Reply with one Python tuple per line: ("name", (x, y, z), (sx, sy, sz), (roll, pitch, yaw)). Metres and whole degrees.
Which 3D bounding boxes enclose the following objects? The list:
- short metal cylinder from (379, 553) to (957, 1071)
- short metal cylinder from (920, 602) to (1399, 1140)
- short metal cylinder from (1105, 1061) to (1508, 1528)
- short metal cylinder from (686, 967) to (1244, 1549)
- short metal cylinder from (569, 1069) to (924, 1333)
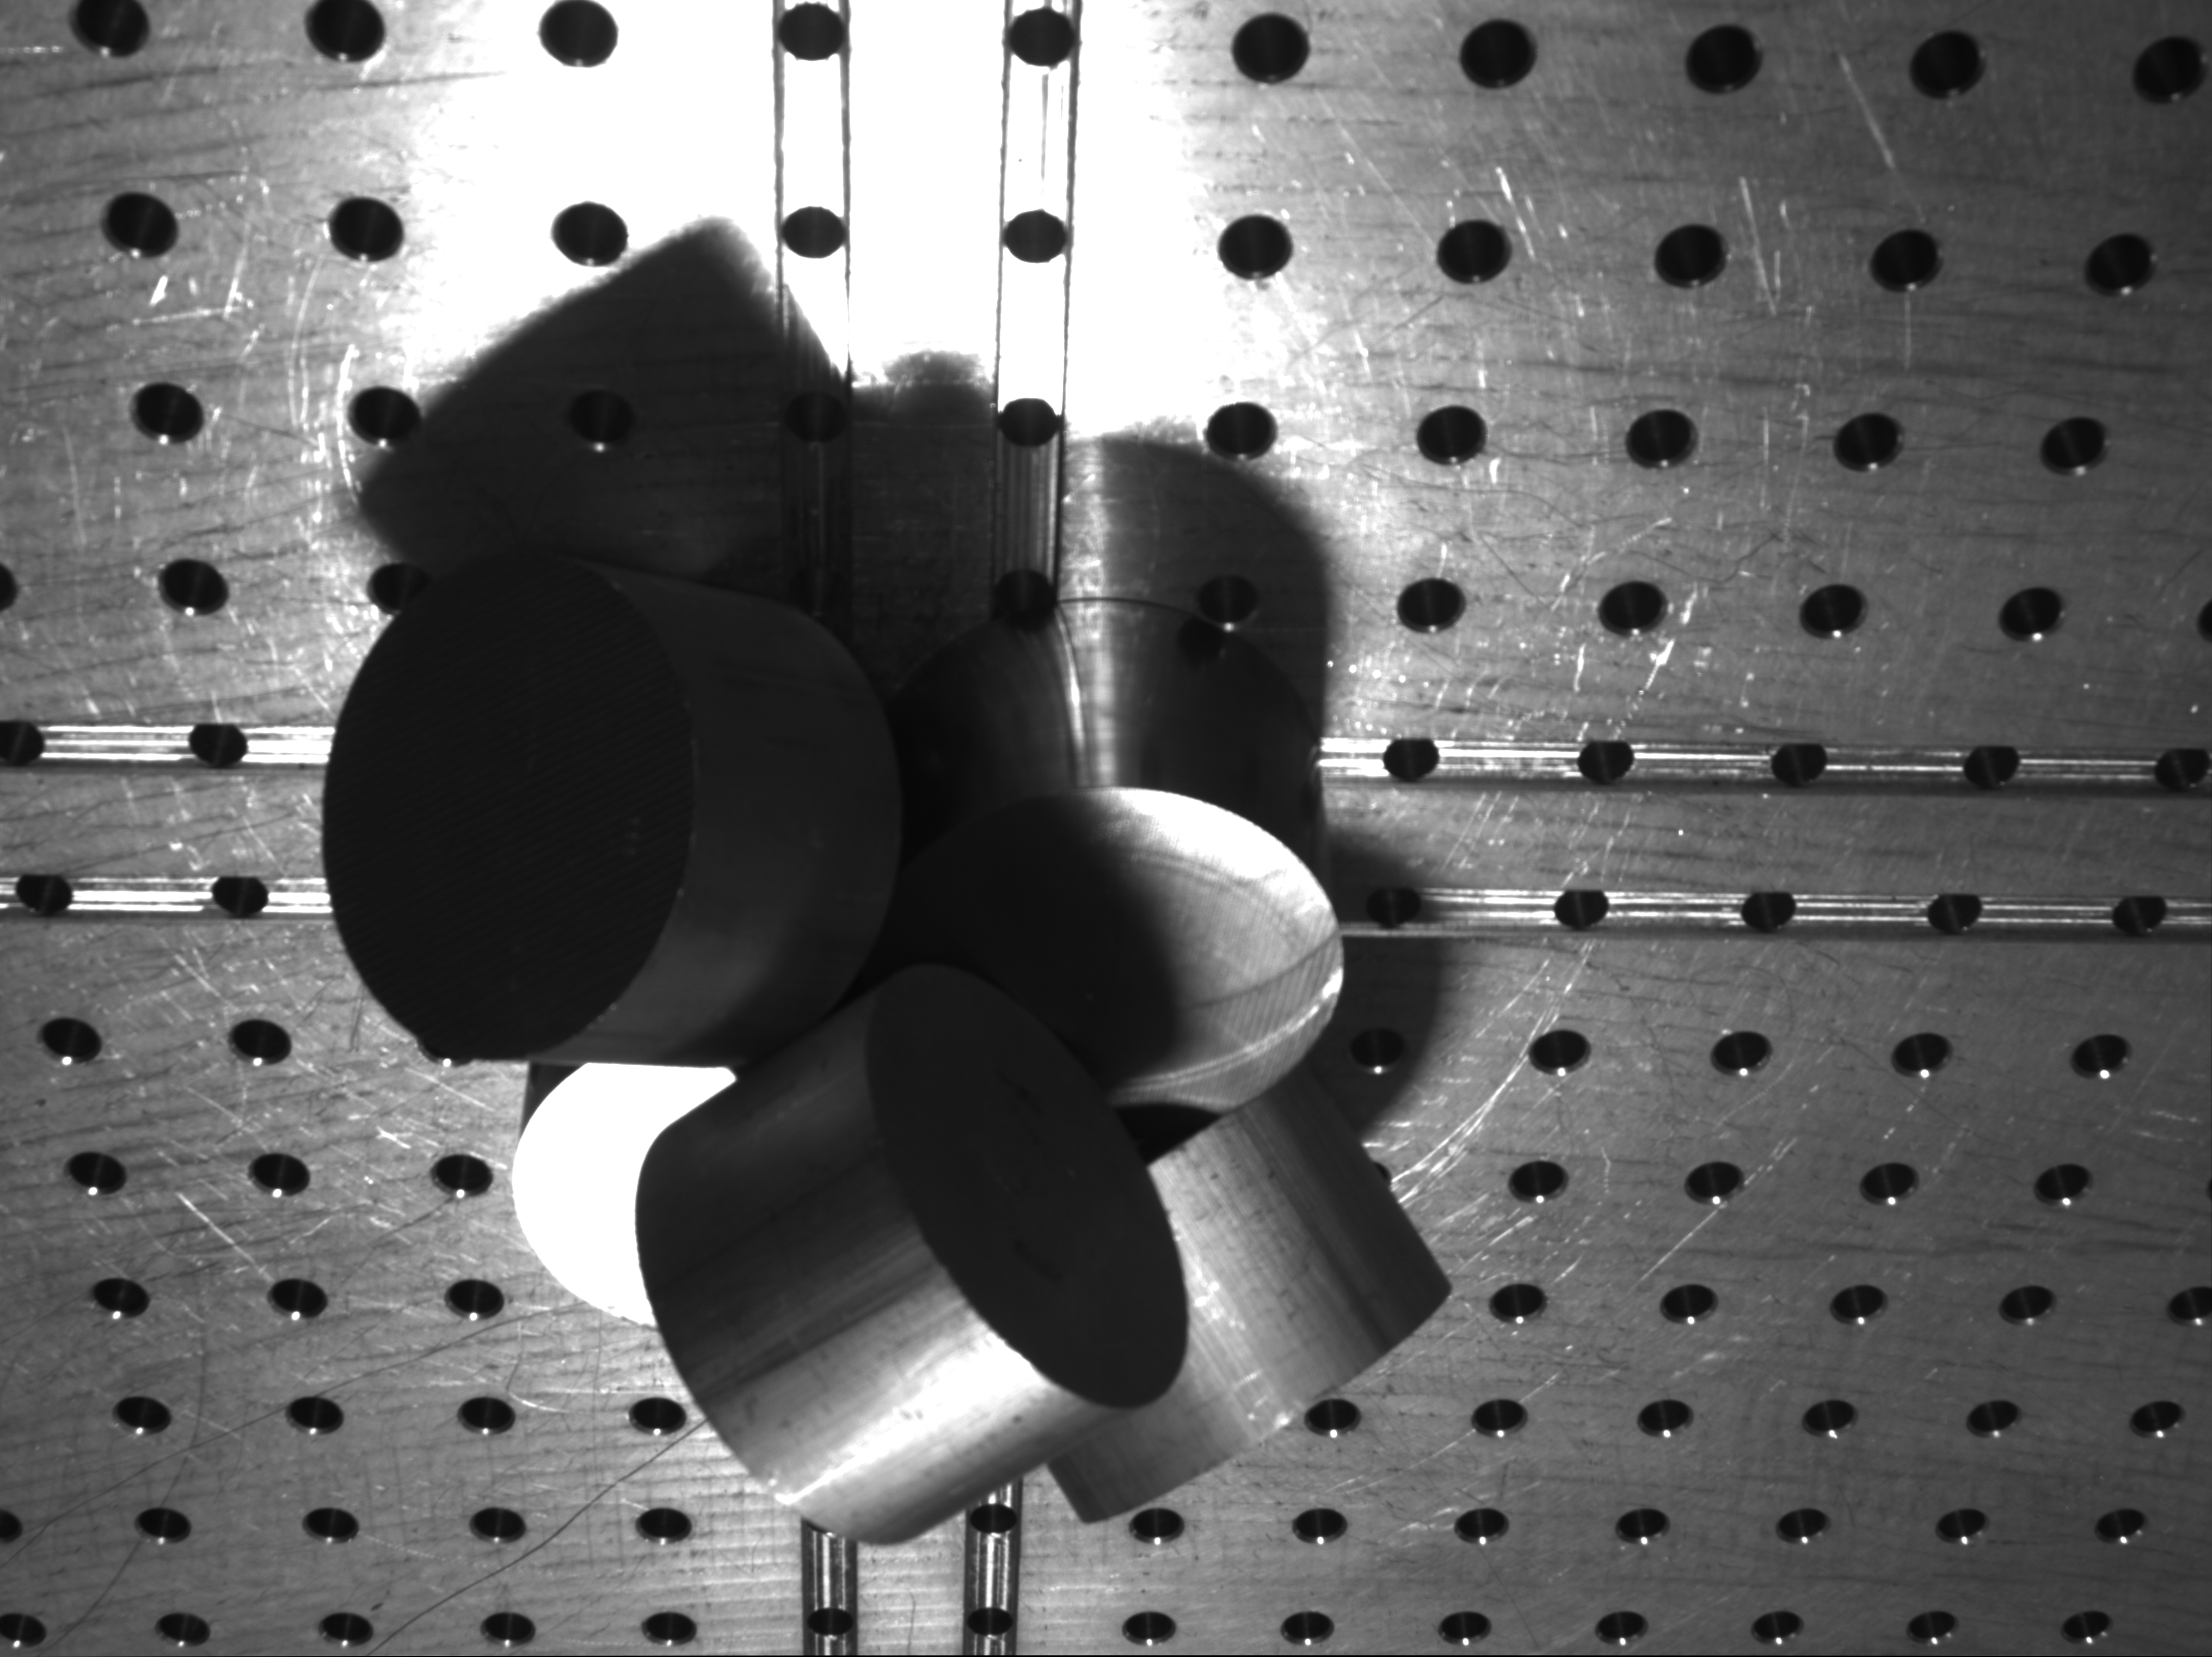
("short metal cylinder", (-0.071, -0.001, 0.593), (0.080, 0.080, 0.050), (-38, 155, 26))
("short metal cylinder", (0.008, 0.008, 0.631), (0.080, 0.050, 0.080), (-1, 130, -1))
("short metal cylinder", (0.026, 0.084, 0.667), (0.080, 0.080, 0.050), (-33, 88, 23))
("short metal cylinder", (-0.022, 0.070, 0.596), (0.050, 0.080, 0.080), (-33, 123, 24))
("short metal cylinder", (-0.055, 0.048, 0.663), (0.080, 0.050, 0.080), (-1, 130, -1))
